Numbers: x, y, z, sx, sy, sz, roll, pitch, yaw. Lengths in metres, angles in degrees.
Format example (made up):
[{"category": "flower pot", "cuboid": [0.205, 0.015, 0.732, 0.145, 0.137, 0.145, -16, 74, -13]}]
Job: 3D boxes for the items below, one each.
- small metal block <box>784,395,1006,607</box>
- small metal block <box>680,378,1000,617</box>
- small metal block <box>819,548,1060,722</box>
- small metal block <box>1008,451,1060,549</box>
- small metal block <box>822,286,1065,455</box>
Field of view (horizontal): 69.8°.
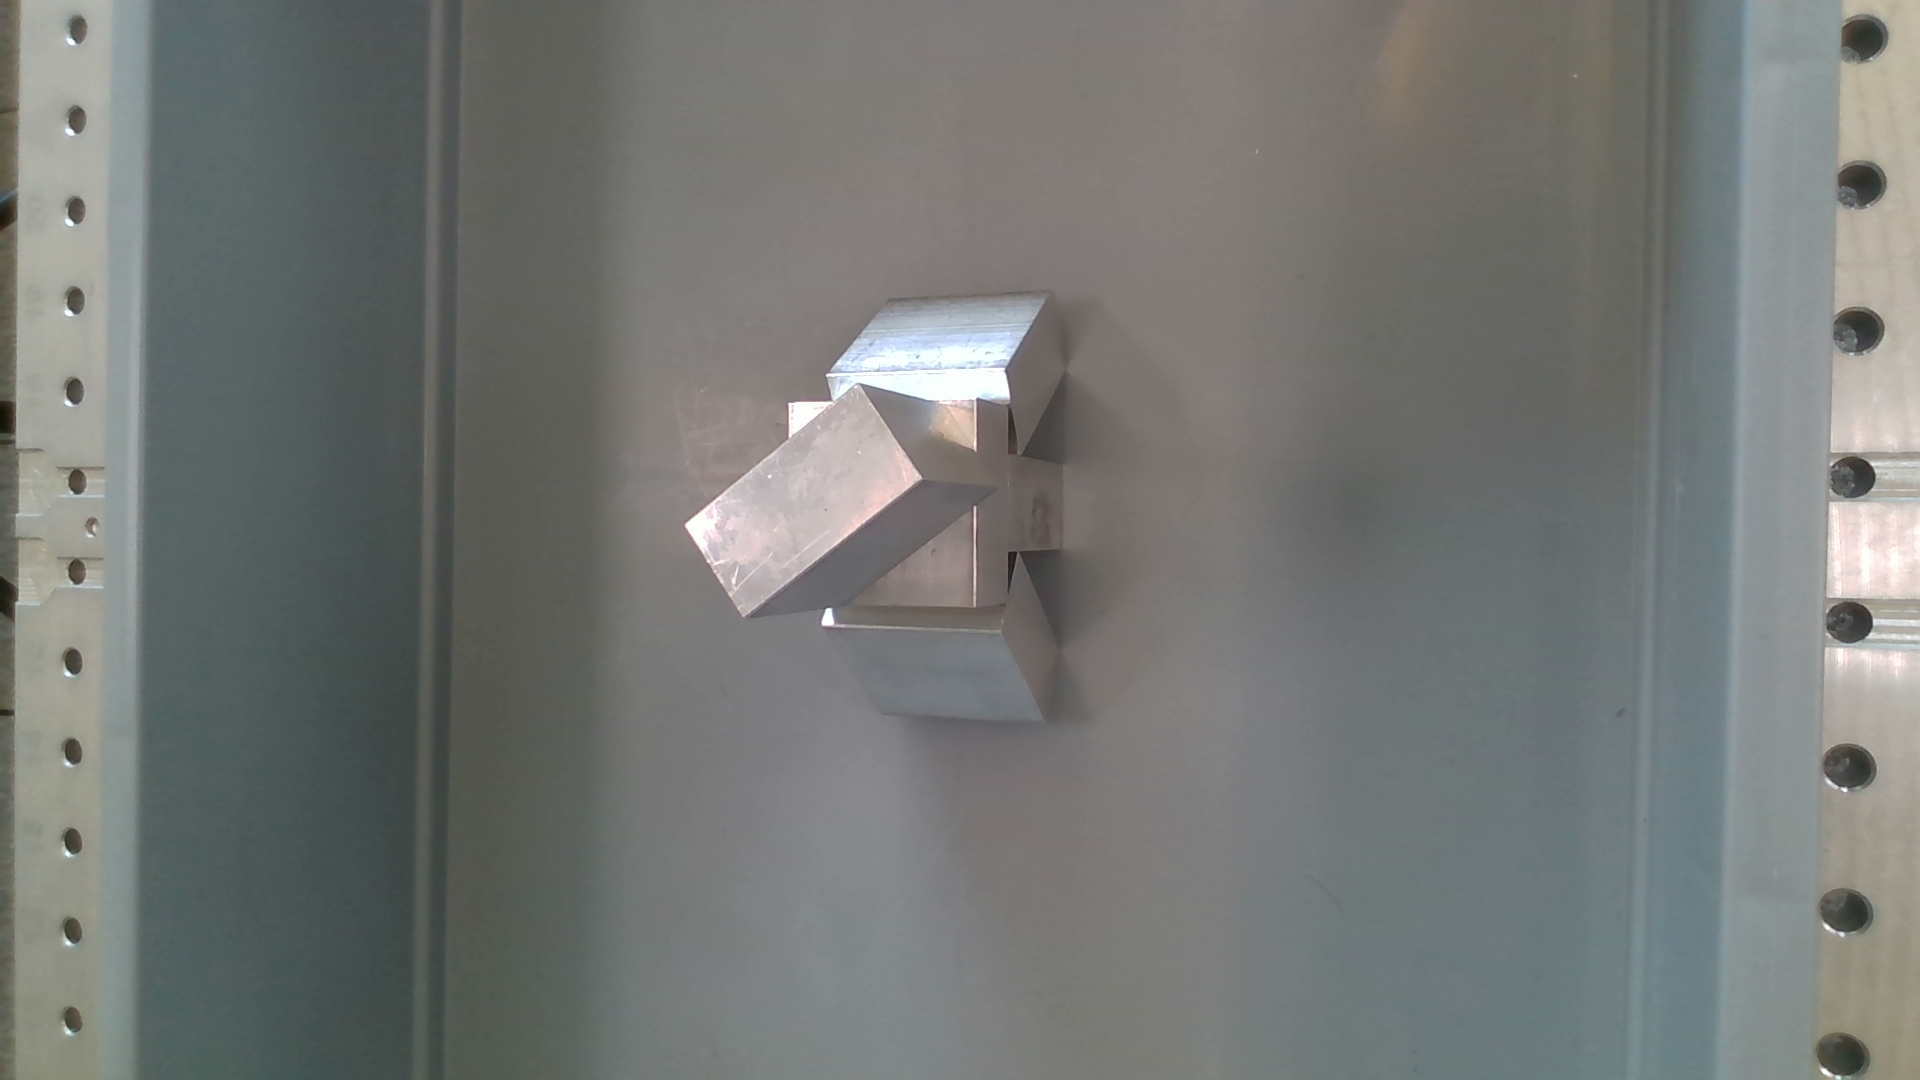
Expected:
[{"category": "small metal block", "cuboid": [-0.016, -0.010, 0.344, 0.050, 0.025, 0.050, 1, 91, 20]}, {"category": "small metal block", "cuboid": [-0.025, -0.008, 0.308, 0.050, 0.050, 0.025, -37, 78, 16]}, {"category": "small metal block", "cuboid": [-0.004, 0.026, 0.379, 0.050, 0.050, 0.025, 1, 56, 20]}, {"category": "small metal block", "cuboid": [-0.003, -0.010, 0.380, 0.050, 0.050, 0.025, 1, 90, 20]}, {"category": "small metal block", "cuboid": [-0.003, -0.046, 0.377, 0.050, 0.050, 0.025, 1, 124, 20]}]
